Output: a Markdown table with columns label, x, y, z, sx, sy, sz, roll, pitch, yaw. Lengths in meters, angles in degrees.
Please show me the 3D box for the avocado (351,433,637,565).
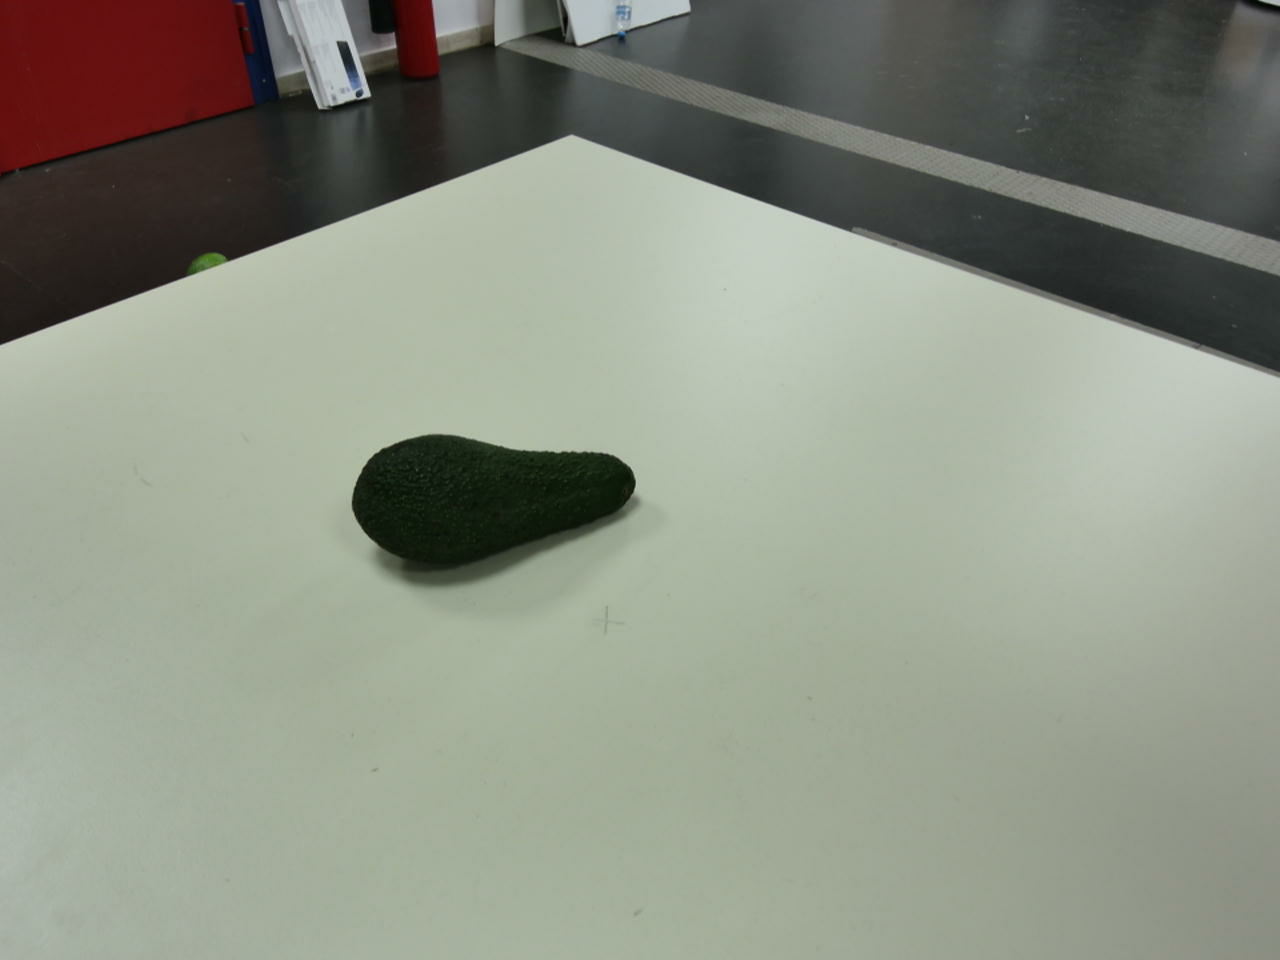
| label | x | y | z | sx | sy | sz | roll | pitch | yaw |
| --- | --- | --- | --- | --- | --- | --- | --- | --- | --- |
| avocado | -0.071 | -0.002 | 0.491 | 0.141 | 0.067 | 0.063 | -22 | 43 | -28 |
